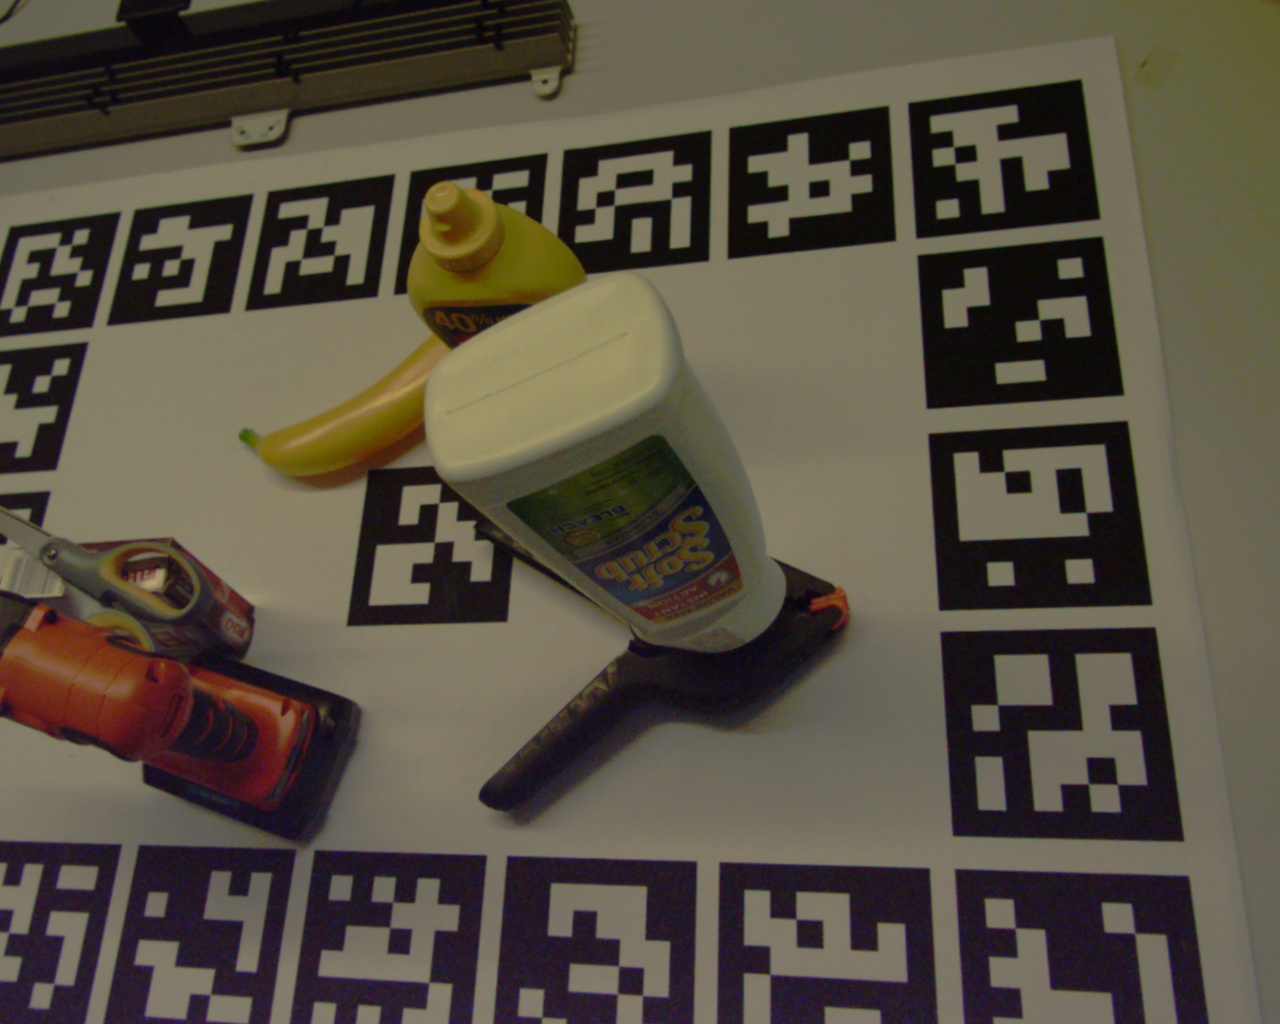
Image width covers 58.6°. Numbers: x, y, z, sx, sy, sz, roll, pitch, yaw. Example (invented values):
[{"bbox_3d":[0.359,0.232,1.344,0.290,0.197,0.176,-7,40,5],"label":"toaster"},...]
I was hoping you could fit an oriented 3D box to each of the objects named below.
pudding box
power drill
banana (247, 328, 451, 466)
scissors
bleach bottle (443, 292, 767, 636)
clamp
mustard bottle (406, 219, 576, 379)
[{"bbox_3d":[-0.309,0.053,0.701,0.115,0.089,0.039,1,62,15],"label":"pudding box"},{"bbox_3d":[-0.272,0.100,0.587,0.186,0.185,0.057,9,64,21],"label":"power drill"},{"bbox_3d":[-0.169,-0.087,0.742,0.197,0.038,0.075,-40,47,-2],"label":"banana"},{"bbox_3d":[-0.332,0.024,0.649,0.204,0.016,0.087,23,80,18],"label":"scissors"},{"bbox_3d":[0.011,0.003,0.531,0.103,0.248,0.068,-23,60,12],"label":"bleach bottle"},{"bbox_3d":[0.000,0.058,0.627,0.204,0.036,0.166,-9,68,10],"label":"clamp"},{"bbox_3d":[-0.079,-0.104,0.652,0.097,0.190,0.058,11,71,17],"label":"mustard bottle"}]
